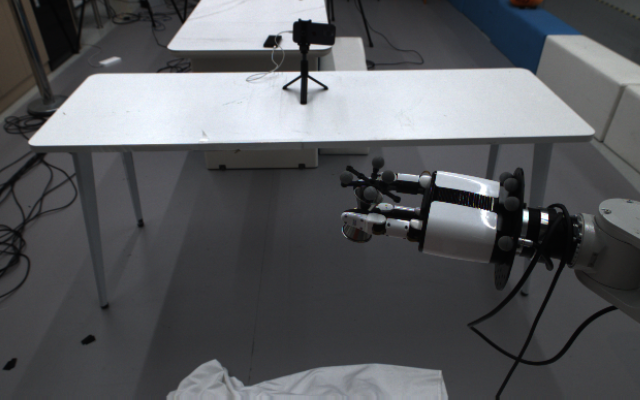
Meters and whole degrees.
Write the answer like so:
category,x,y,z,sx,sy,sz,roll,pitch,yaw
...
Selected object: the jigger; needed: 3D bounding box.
category,x,y,z,sx,sy,sz,roll,pitch,yaw
jigger,0.058,0.019,0.662,0.043,0.071,0.043,10,36,-7
